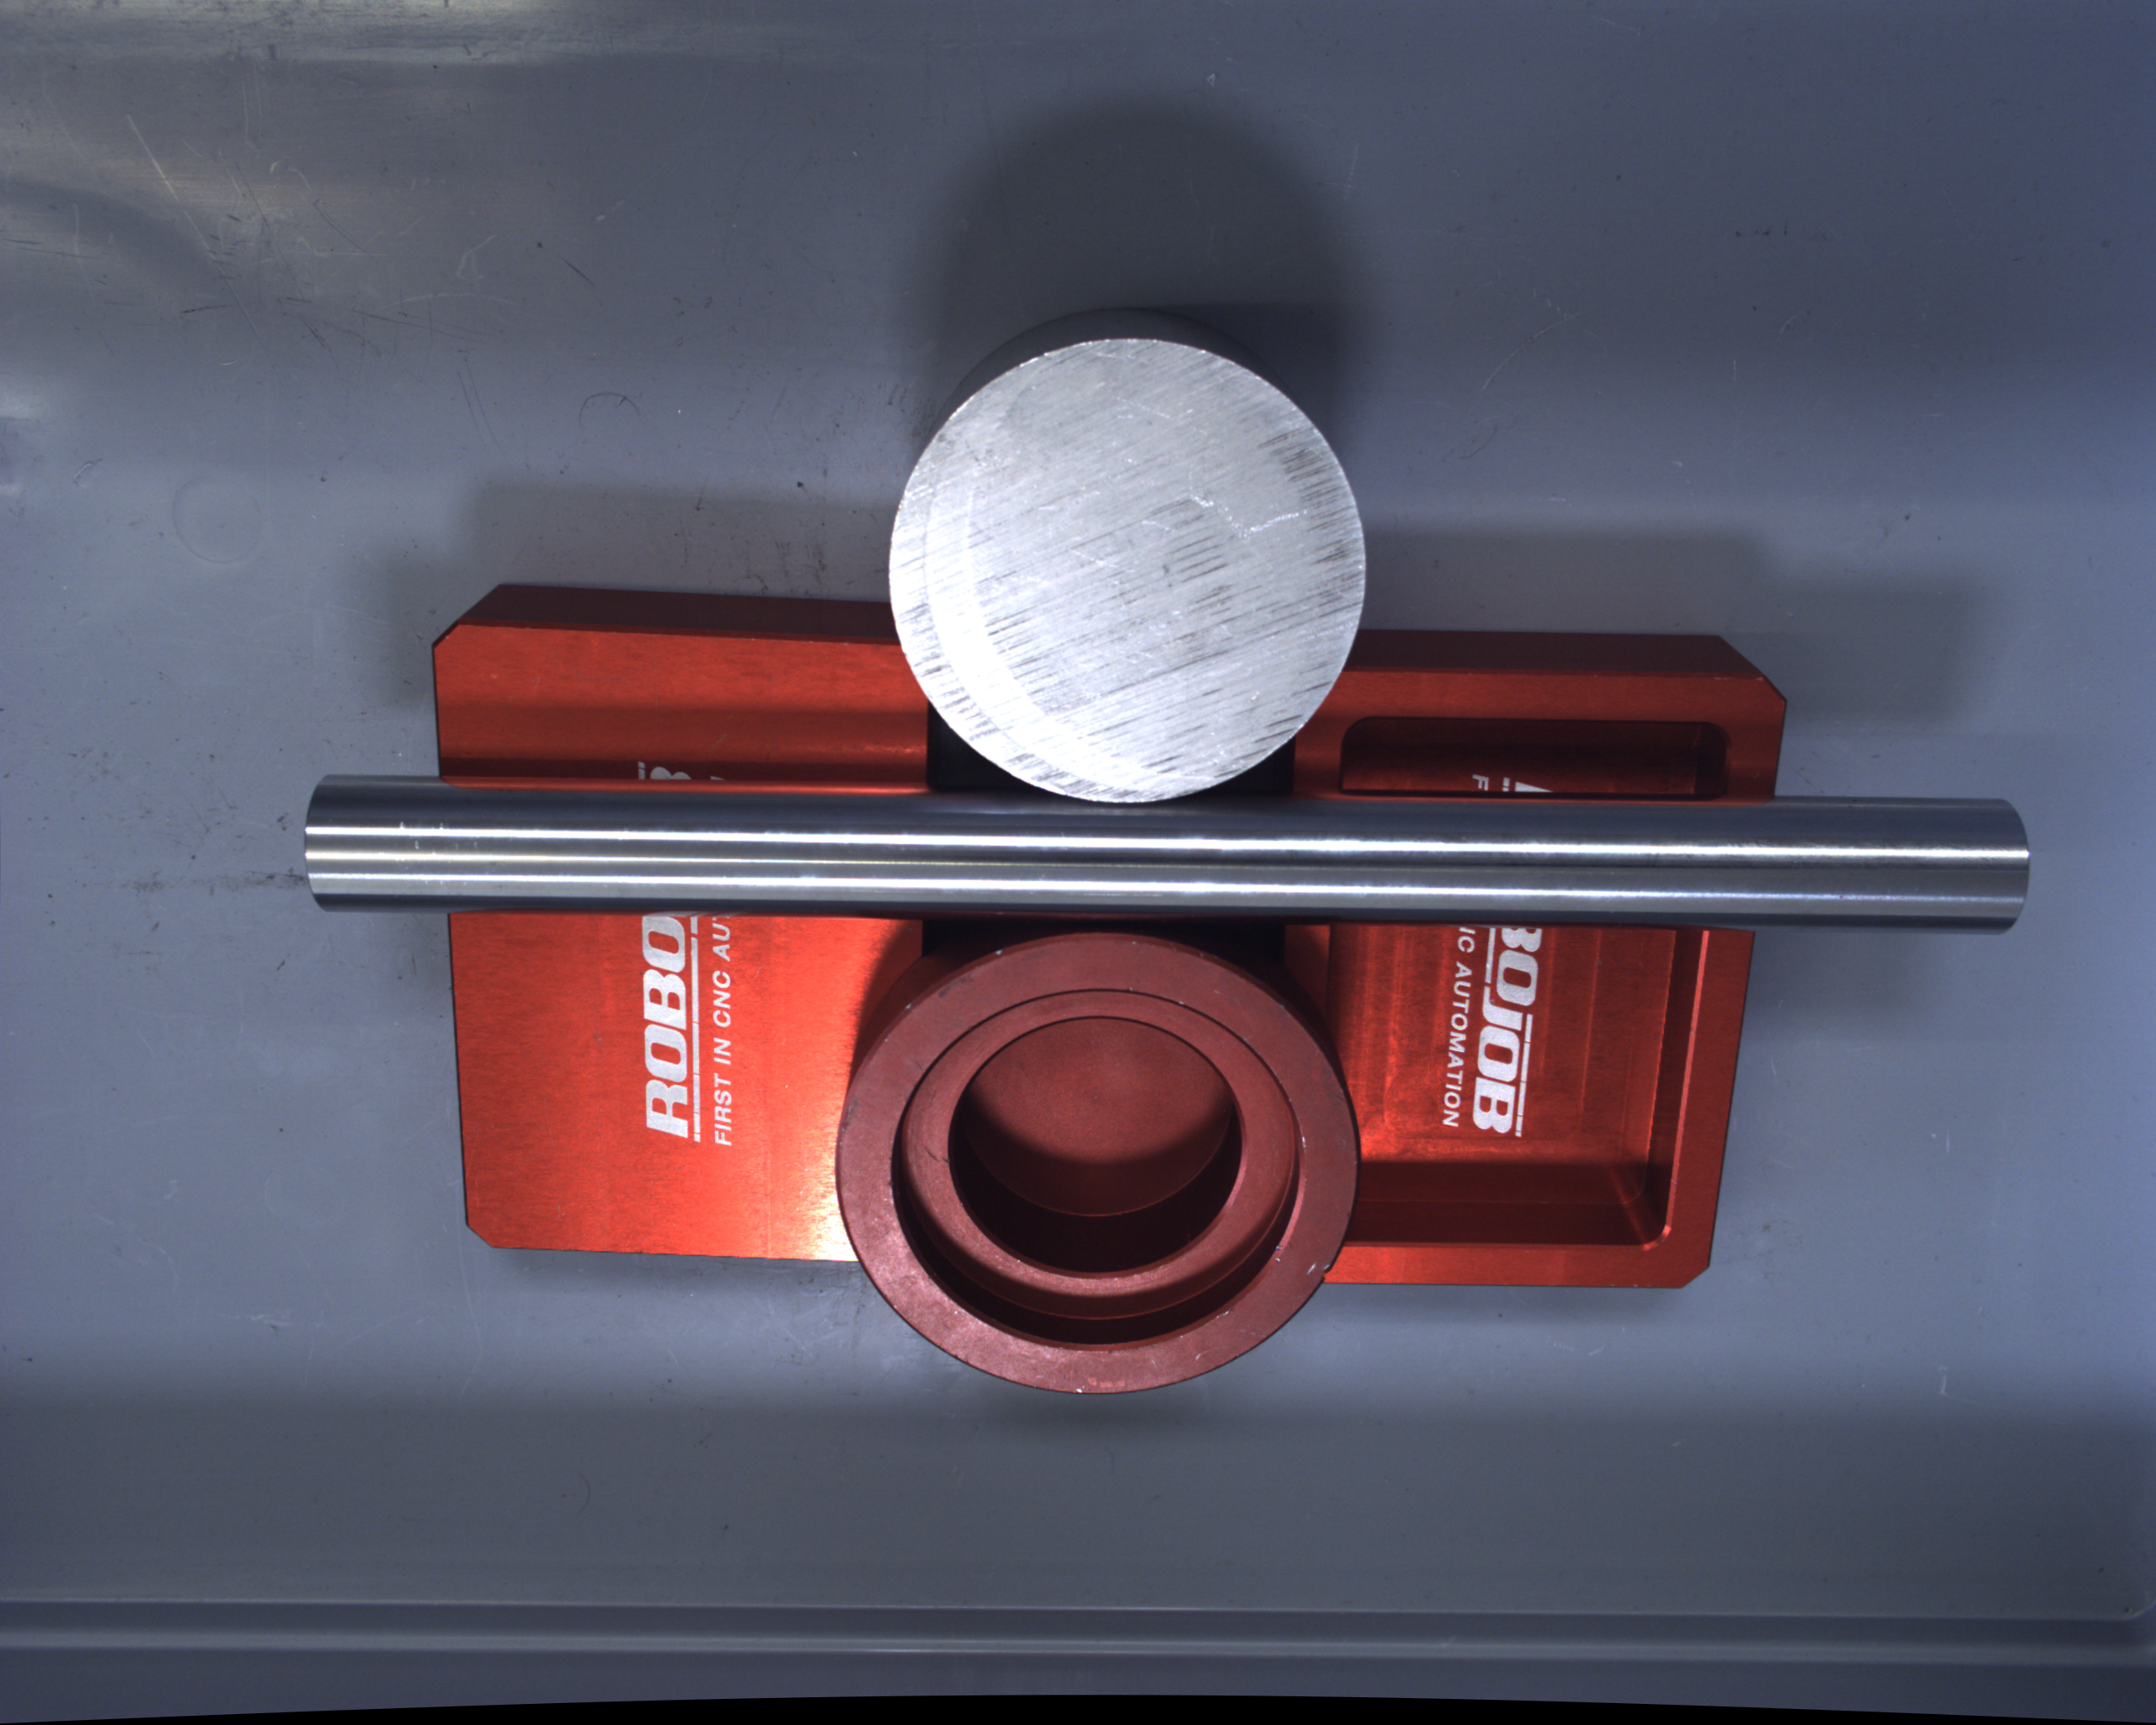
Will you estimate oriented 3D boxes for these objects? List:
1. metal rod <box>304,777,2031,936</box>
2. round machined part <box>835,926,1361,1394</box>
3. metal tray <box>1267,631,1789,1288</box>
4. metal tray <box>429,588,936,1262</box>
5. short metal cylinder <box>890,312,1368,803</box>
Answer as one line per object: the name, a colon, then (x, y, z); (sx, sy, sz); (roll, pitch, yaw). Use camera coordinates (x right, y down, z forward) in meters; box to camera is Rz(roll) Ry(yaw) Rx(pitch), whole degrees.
metal rod: (0.017, -0.001, 0.377); (0.302, 0.025, 0.025); (1, 110, -1)
round machined part: (0.004, 0.051, 0.409); (0.099, 0.042, 0.097); (0, 110, 0)
metal tray: (0.084, 0.021, 0.415); (0.091, 0.030, 0.129); (1, 110, -1)
metal tray: (-0.074, 0.014, 0.410); (0.091, 0.030, 0.129); (2, 110, -1)
short metal cylinder: (0.009, -0.056, 0.375); (0.081, 0.050, 0.079); (0, 110, 0)
